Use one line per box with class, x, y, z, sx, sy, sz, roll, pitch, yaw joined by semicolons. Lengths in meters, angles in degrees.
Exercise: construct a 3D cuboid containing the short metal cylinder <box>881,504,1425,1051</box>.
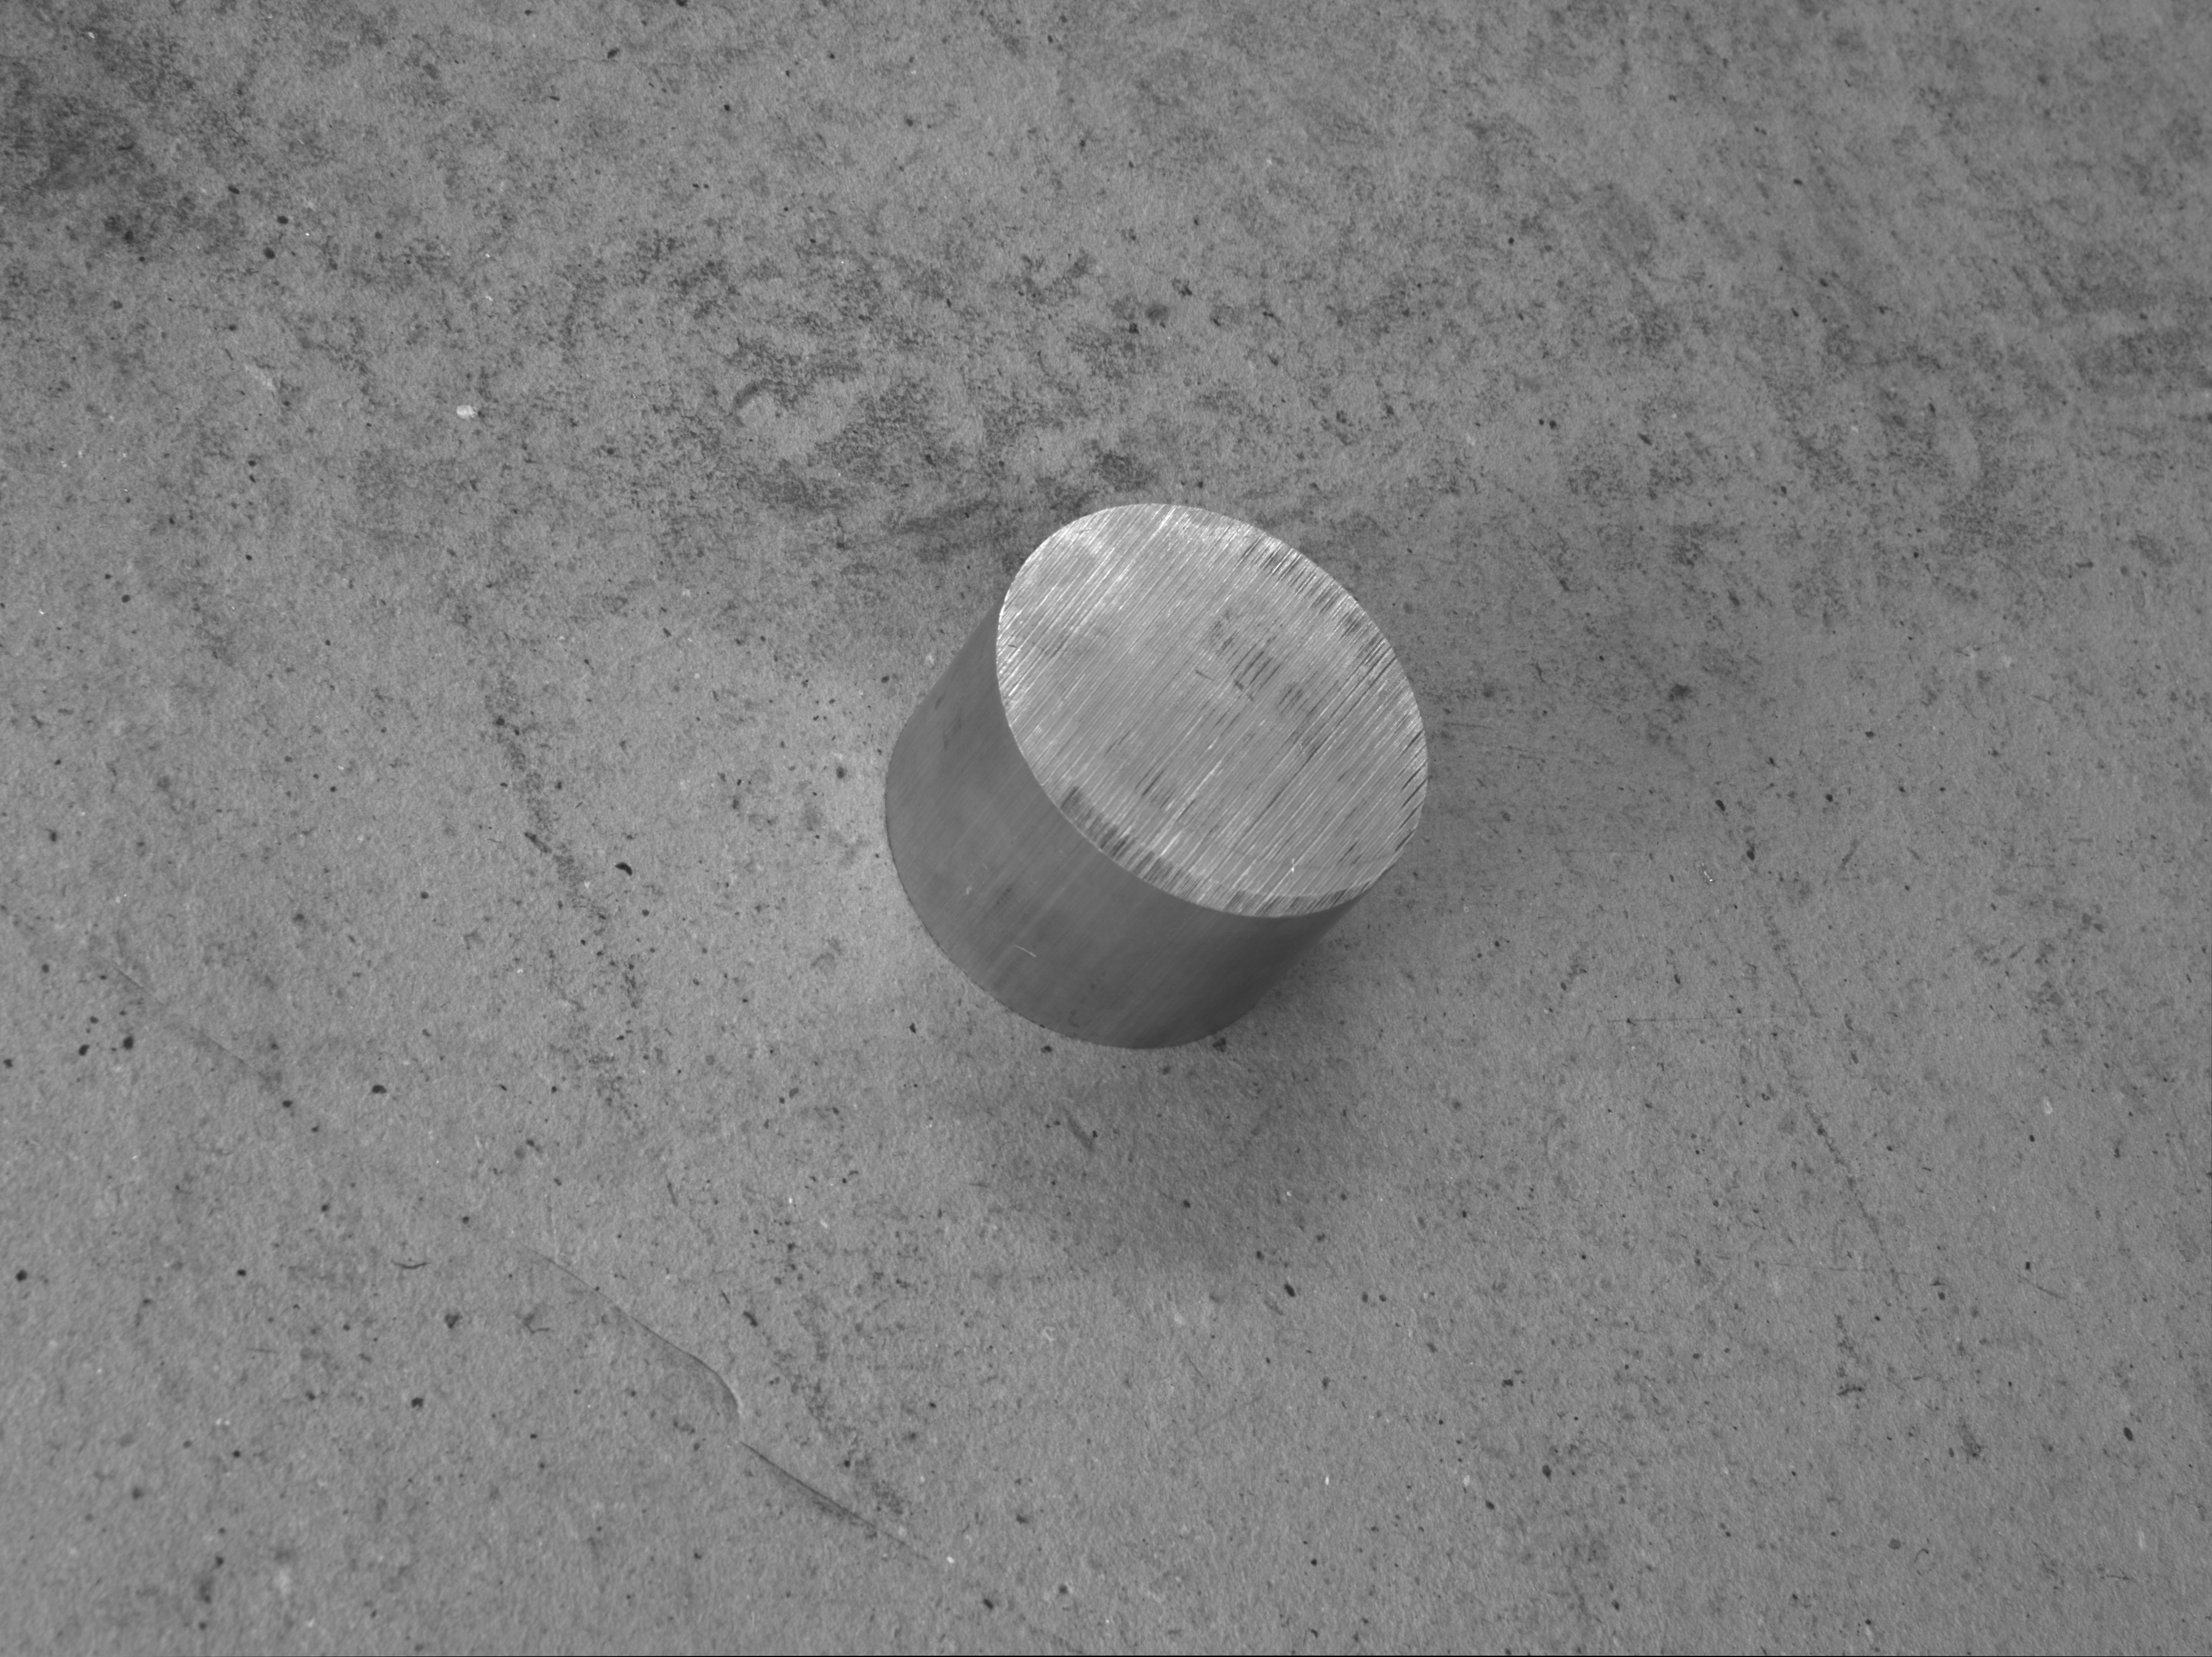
short metal cylinder;0.008;-0.009;0.633;0.080;0.050;0.080;14;56;-21
